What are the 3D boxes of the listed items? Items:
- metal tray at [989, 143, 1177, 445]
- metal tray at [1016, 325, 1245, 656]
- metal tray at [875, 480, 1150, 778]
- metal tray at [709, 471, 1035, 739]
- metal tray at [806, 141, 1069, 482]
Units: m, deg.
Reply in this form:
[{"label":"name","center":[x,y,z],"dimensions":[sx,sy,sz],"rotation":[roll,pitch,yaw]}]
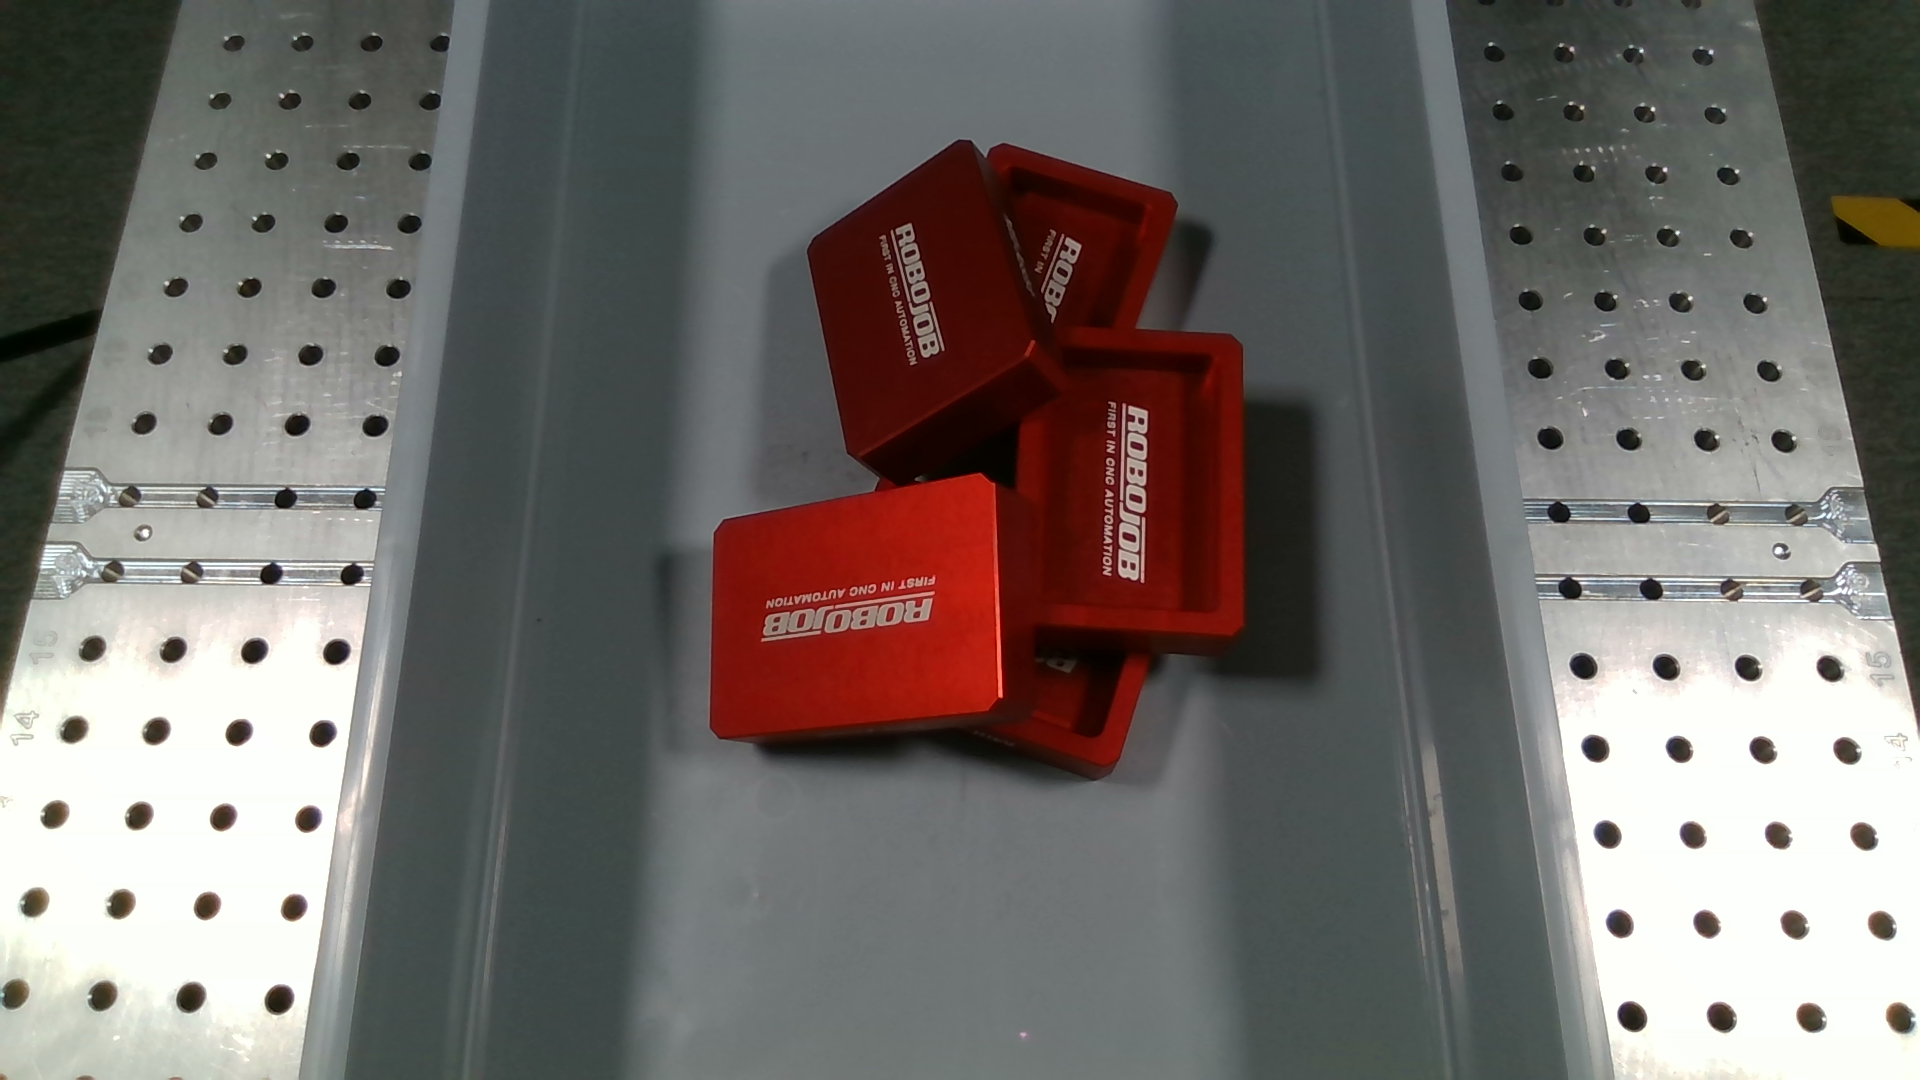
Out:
[{"label":"metal tray","center":[0.035,-0.108,0.621],"dimensions":[0.090,0.030,0.130],"rotation":[18,71,6]},{"label":"metal tray","center":[0.068,-0.022,0.560],"dimensions":[0.090,0.030,0.130],"rotation":[3,70,1]},{"label":"metal tray","center":[0.014,0.035,0.571],"dimensions":[0.130,0.030,0.090],"rotation":[18,71,6]},{"label":"metal tray","center":[-0.037,0.029,0.539],"dimensions":[0.130,0.030,0.090],"rotation":[-9,74,27]},{"label":"metal tray","center":[-0.013,-0.098,0.583],"dimensions":[0.090,0.030,0.130],"rotation":[-29,53,20]}]
